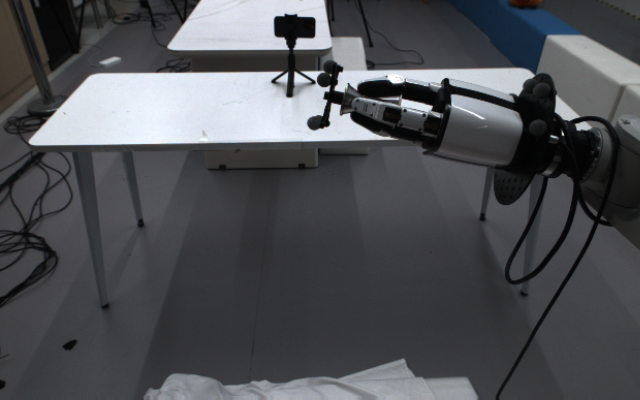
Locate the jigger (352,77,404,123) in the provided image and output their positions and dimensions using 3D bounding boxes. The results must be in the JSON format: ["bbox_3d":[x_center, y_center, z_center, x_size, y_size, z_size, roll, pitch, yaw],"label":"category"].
[{"bbox_3d":[0.065,-0.120,0.593,0.071,0.043,0.043,14,36,4],"label":"jigger"}]
